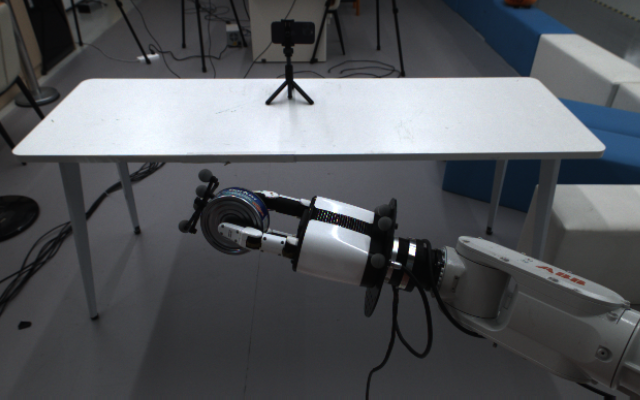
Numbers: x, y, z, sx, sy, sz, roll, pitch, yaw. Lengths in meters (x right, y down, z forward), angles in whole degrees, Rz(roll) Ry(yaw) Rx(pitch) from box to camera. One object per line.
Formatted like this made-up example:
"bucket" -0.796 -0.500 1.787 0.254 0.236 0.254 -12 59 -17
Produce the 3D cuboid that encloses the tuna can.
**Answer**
"tuna can" -0.109 0.027 0.635 0.085 0.085 0.034 5 20 5
